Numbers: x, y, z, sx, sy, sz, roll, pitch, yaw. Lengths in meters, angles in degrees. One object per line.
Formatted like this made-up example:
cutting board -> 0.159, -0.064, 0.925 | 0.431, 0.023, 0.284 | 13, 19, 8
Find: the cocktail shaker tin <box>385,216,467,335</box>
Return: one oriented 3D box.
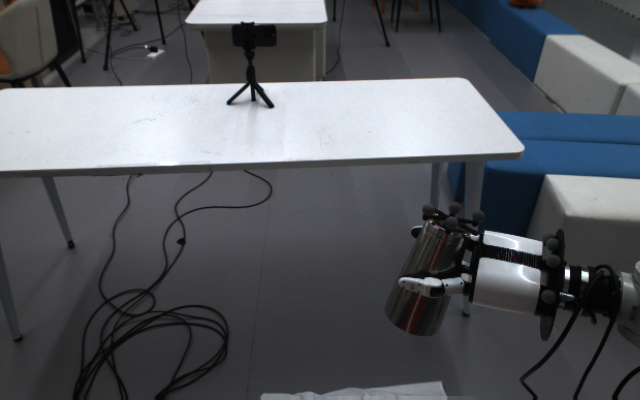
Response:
cocktail shaker tin -> 0.169, 0.107, 0.734 | 0.093, 0.170, 0.093 | 12, 24, -5
